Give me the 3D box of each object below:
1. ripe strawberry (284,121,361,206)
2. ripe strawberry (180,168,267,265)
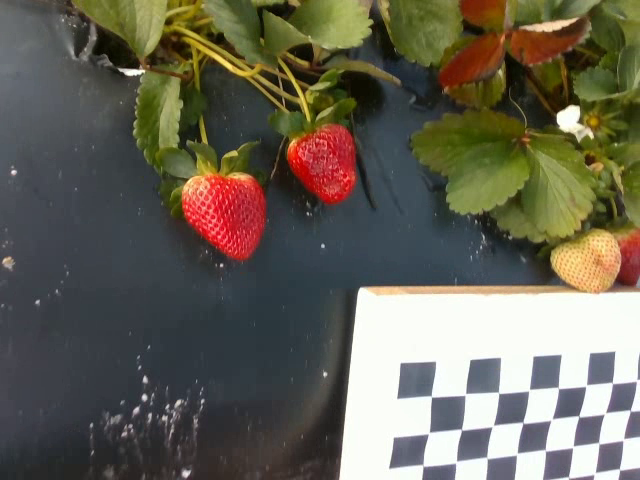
[{"bbox_3d":[0.005,-0.046,0.288,0.042,0.053,0.034,-14,-20,-11],"label":"ripe strawberry"},{"bbox_3d":[-0.050,-0.013,0.270,0.050,0.061,0.045,-9,-24,-12],"label":"ripe strawberry"}]
